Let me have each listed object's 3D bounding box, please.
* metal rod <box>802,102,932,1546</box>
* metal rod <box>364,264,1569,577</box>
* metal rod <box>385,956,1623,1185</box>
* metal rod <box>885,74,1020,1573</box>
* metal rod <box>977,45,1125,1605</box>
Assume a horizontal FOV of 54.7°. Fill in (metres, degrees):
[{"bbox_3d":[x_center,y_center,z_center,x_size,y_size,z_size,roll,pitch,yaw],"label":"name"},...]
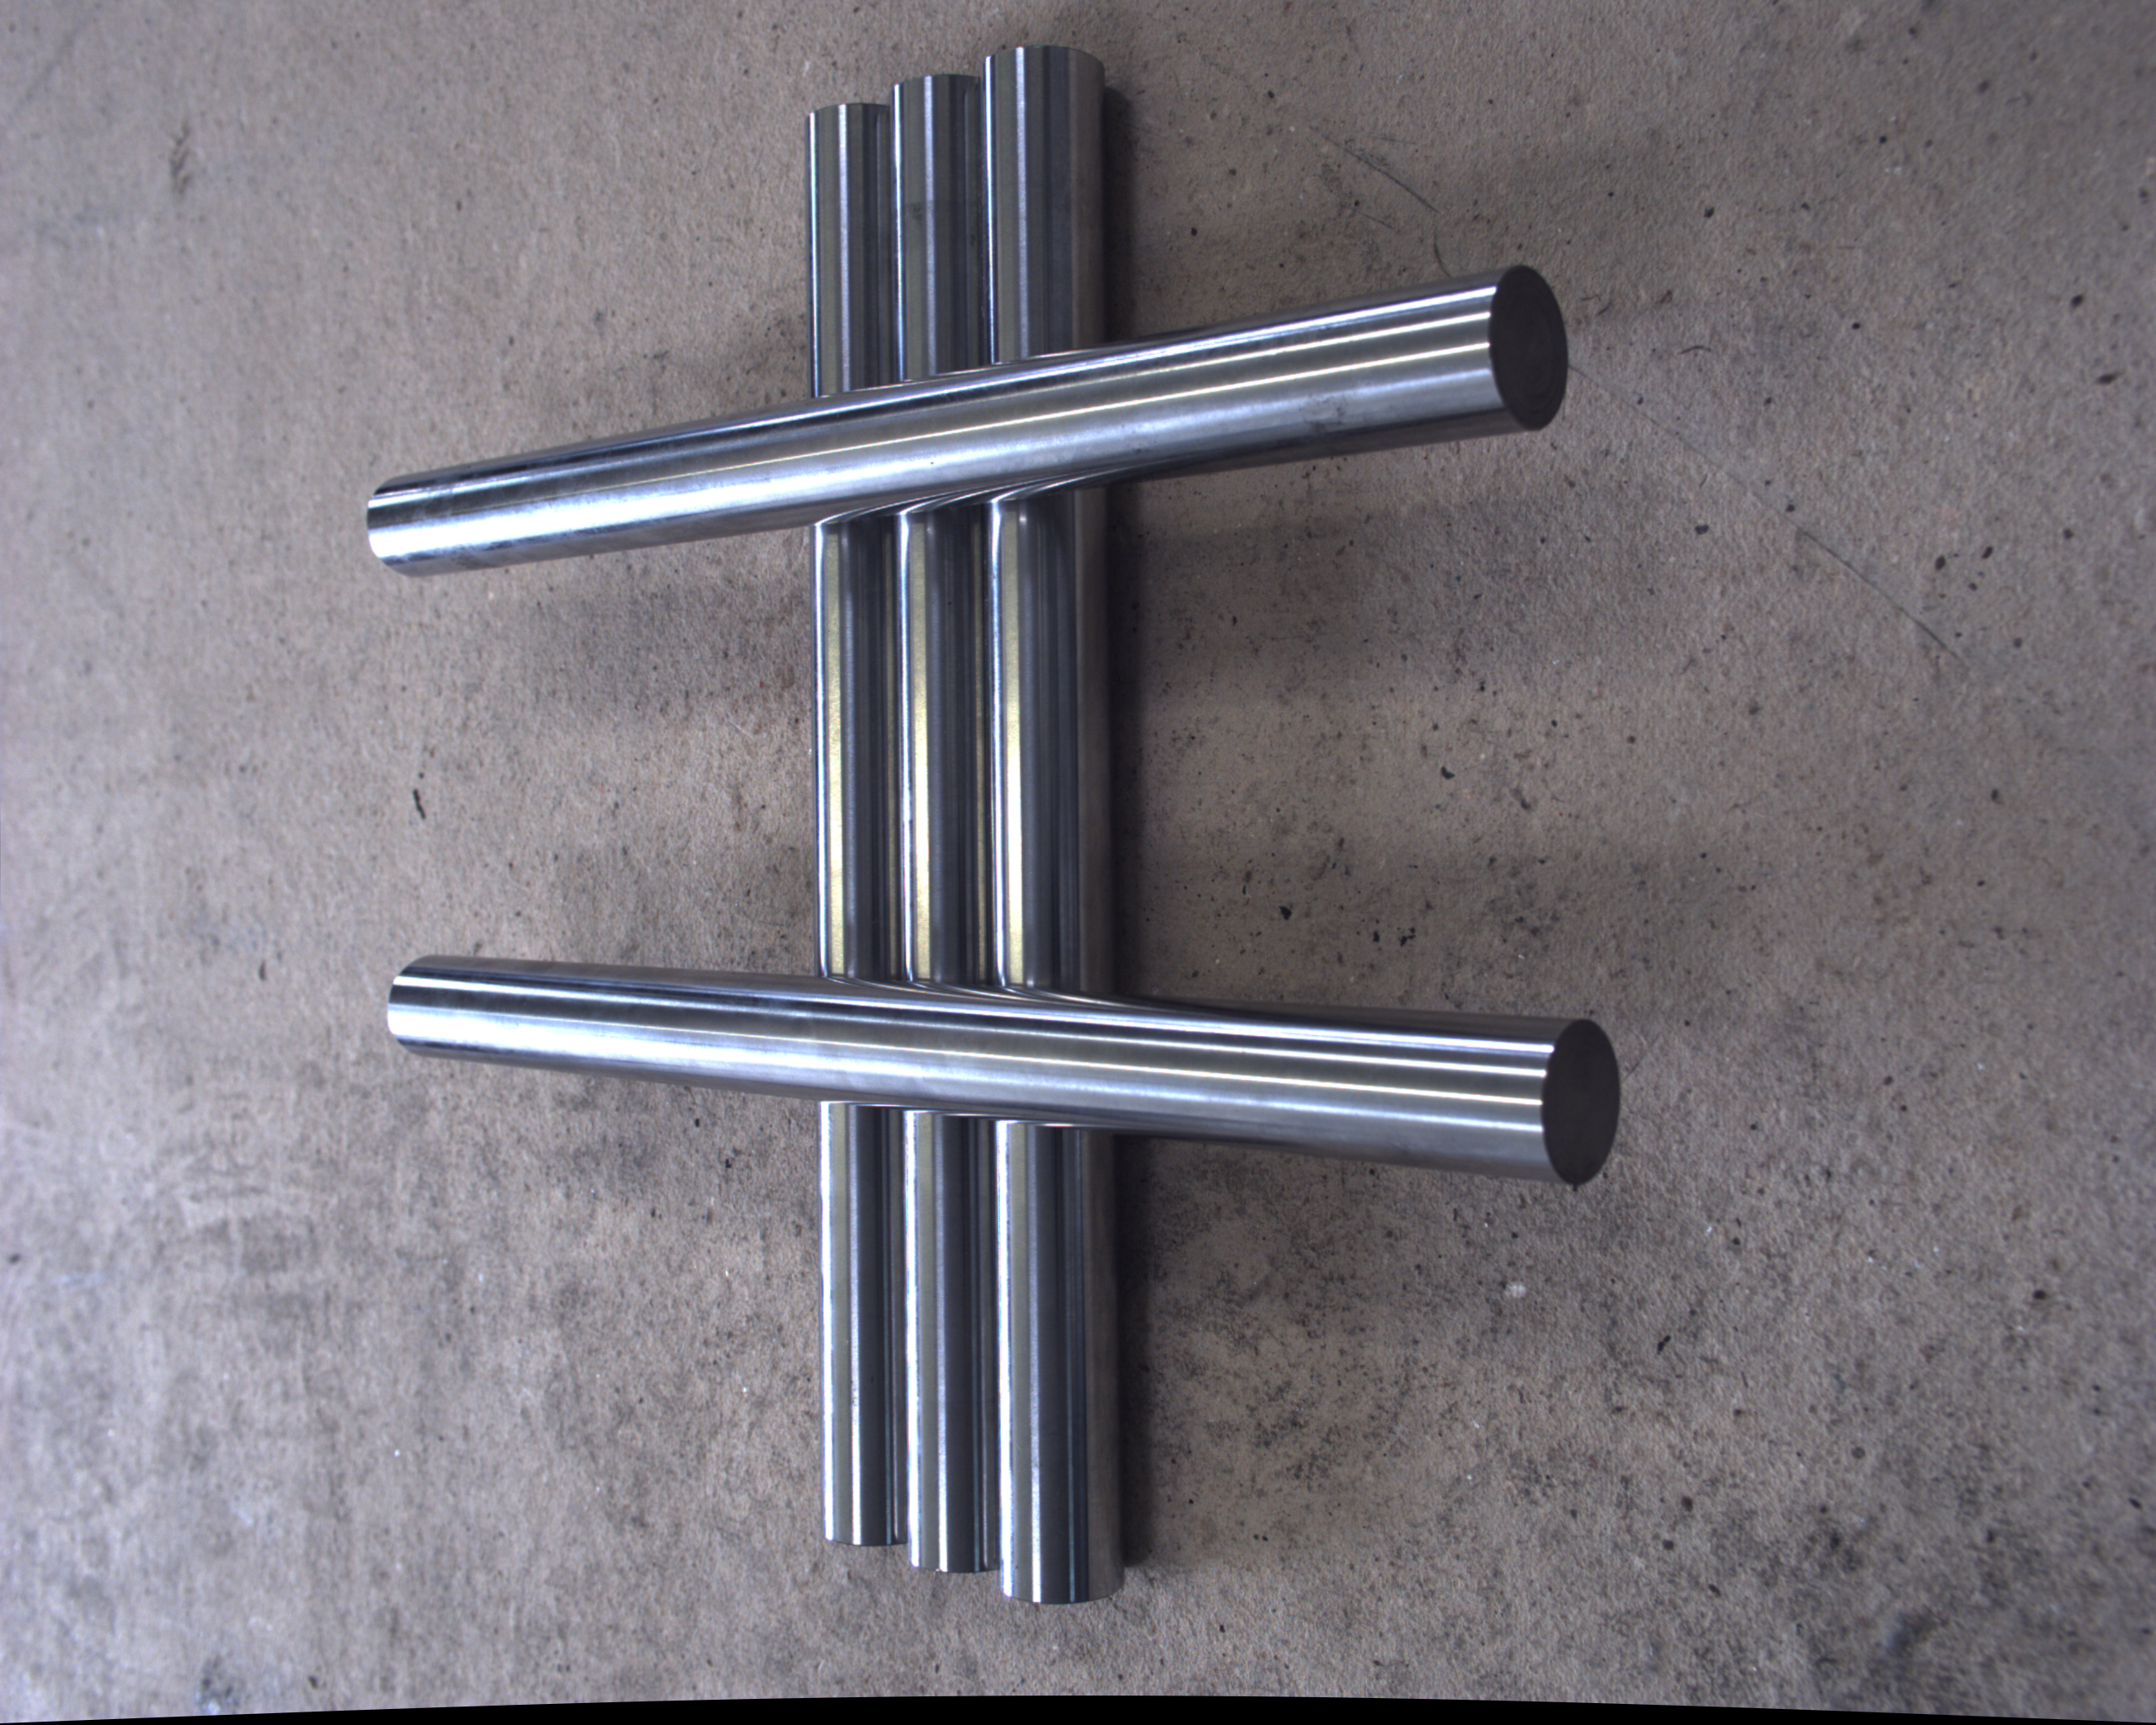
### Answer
[{"bbox_3d":[-0.044,-0.008,0.443,0.025,0.025,0.298,-1,89,40],"label":"metal rod"},{"bbox_3d":[-0.047,-0.080,0.412,0.300,0.025,0.025,1,91,39],"label":"metal rod"},{"bbox_3d":[-0.040,0.035,0.407,0.300,0.025,0.025,0,90,39],"label":"metal rod"},{"bbox_3d":[-0.025,-0.008,0.427,0.025,0.025,0.298,-1,89,40],"label":"metal rod"},{"bbox_3d":[-0.005,-0.008,0.411,0.025,0.025,0.298,-1,89,40],"label":"metal rod"}]
